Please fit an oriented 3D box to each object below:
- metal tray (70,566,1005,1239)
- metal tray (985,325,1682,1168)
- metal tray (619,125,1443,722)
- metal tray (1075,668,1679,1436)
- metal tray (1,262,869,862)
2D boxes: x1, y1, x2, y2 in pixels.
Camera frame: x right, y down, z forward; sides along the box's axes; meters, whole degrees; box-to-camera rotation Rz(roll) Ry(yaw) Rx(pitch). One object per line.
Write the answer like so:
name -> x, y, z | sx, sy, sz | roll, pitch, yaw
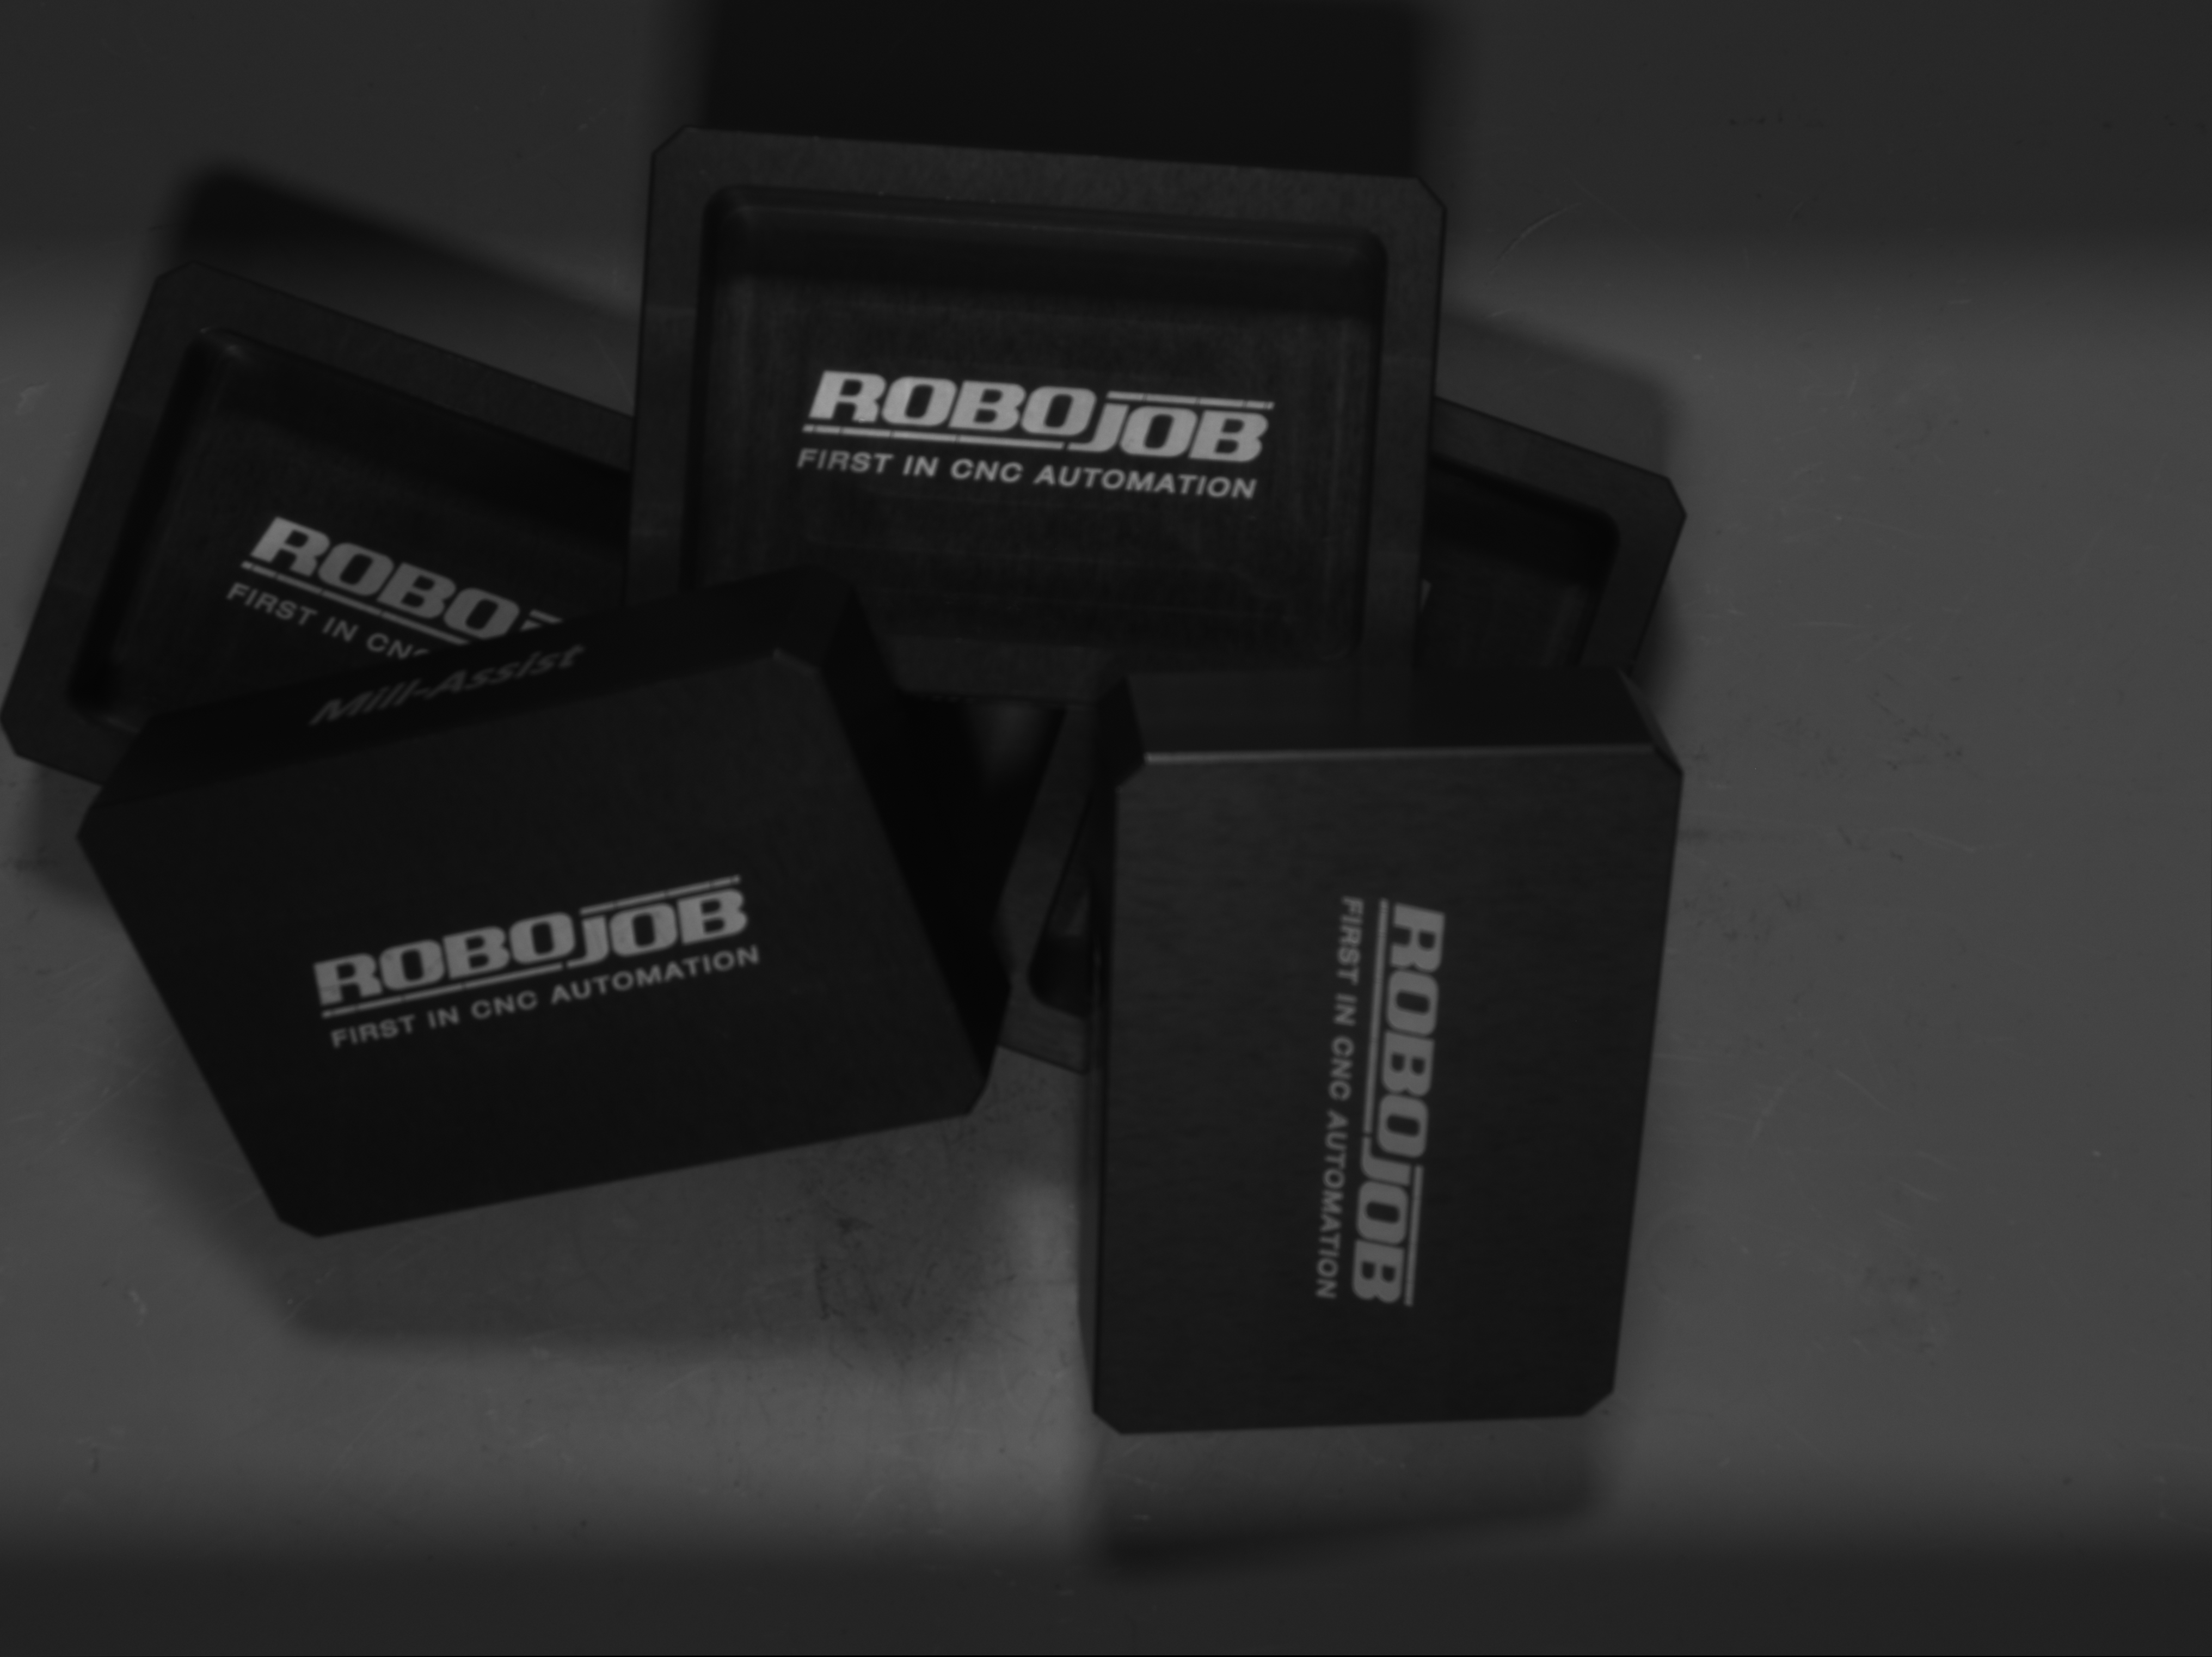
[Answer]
metal tray -> -0.092, 0.015, 0.607 | 0.130, 0.030, 0.090 | -12, 120, 15
metal tray -> 0.036, -0.012, 0.642 | 0.090, 0.030, 0.130 | 19, 90, 0
metal tray -> -0.012, -0.066, 0.611 | 0.130, 0.030, 0.090 | 4, 90, -1
metal tray -> 0.042, 0.039, 0.610 | 0.090, 0.030, 0.130 | -1, 118, -6
metal tray -> -0.115, -0.034, 0.639 | 0.130, 0.030, 0.090 | 20, 90, 0
